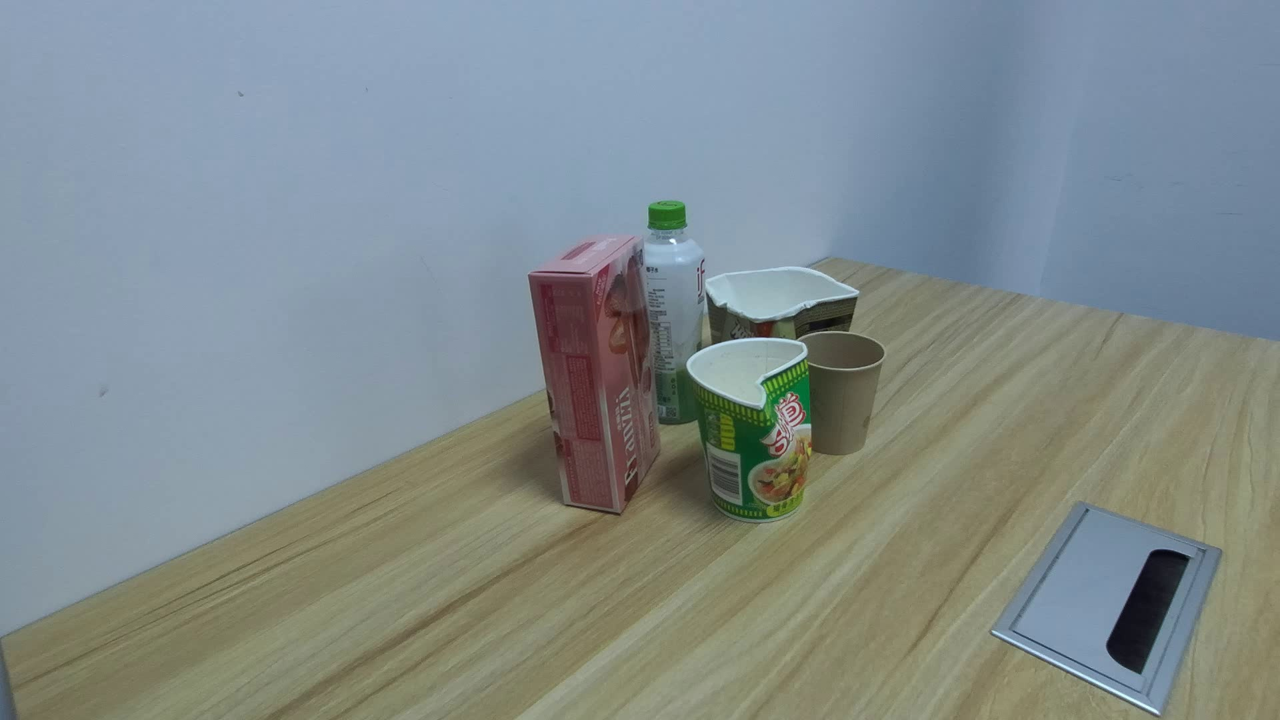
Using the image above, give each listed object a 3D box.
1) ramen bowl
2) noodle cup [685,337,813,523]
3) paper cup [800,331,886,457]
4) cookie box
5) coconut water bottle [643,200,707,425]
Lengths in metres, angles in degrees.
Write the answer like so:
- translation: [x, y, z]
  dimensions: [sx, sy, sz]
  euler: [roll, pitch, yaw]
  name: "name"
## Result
- translation: [0.123, -0.028, 0.681]
  dimensions: [0.114, 0.098, 0.133]
  euler: [-21, 31, -30]
  name: "ramen bowl"
- translation: [0.082, 0.050, 0.504]
  dimensions: [0.094, 0.109, 0.086]
  euler: [-23, 32, -33]
  name: "noodle cup"
- translation: [0.157, 0.029, 0.572]
  dimensions: [0.075, 0.082, 0.075]
  euler: [-3, 25, 2]
  name: "paper cup"
- translation: [-0.026, 0.011, 0.523]
  dimensions: [0.048, 0.185, 0.096]
  euler: [4, 25, 20]
  name: "cookie box"
- translation: [0.028, -0.041, 0.615]
  dimensions: [0.063, 0.189, 0.063]
  euler: [-3, 26, 2]
  name: "coconut water bottle"
